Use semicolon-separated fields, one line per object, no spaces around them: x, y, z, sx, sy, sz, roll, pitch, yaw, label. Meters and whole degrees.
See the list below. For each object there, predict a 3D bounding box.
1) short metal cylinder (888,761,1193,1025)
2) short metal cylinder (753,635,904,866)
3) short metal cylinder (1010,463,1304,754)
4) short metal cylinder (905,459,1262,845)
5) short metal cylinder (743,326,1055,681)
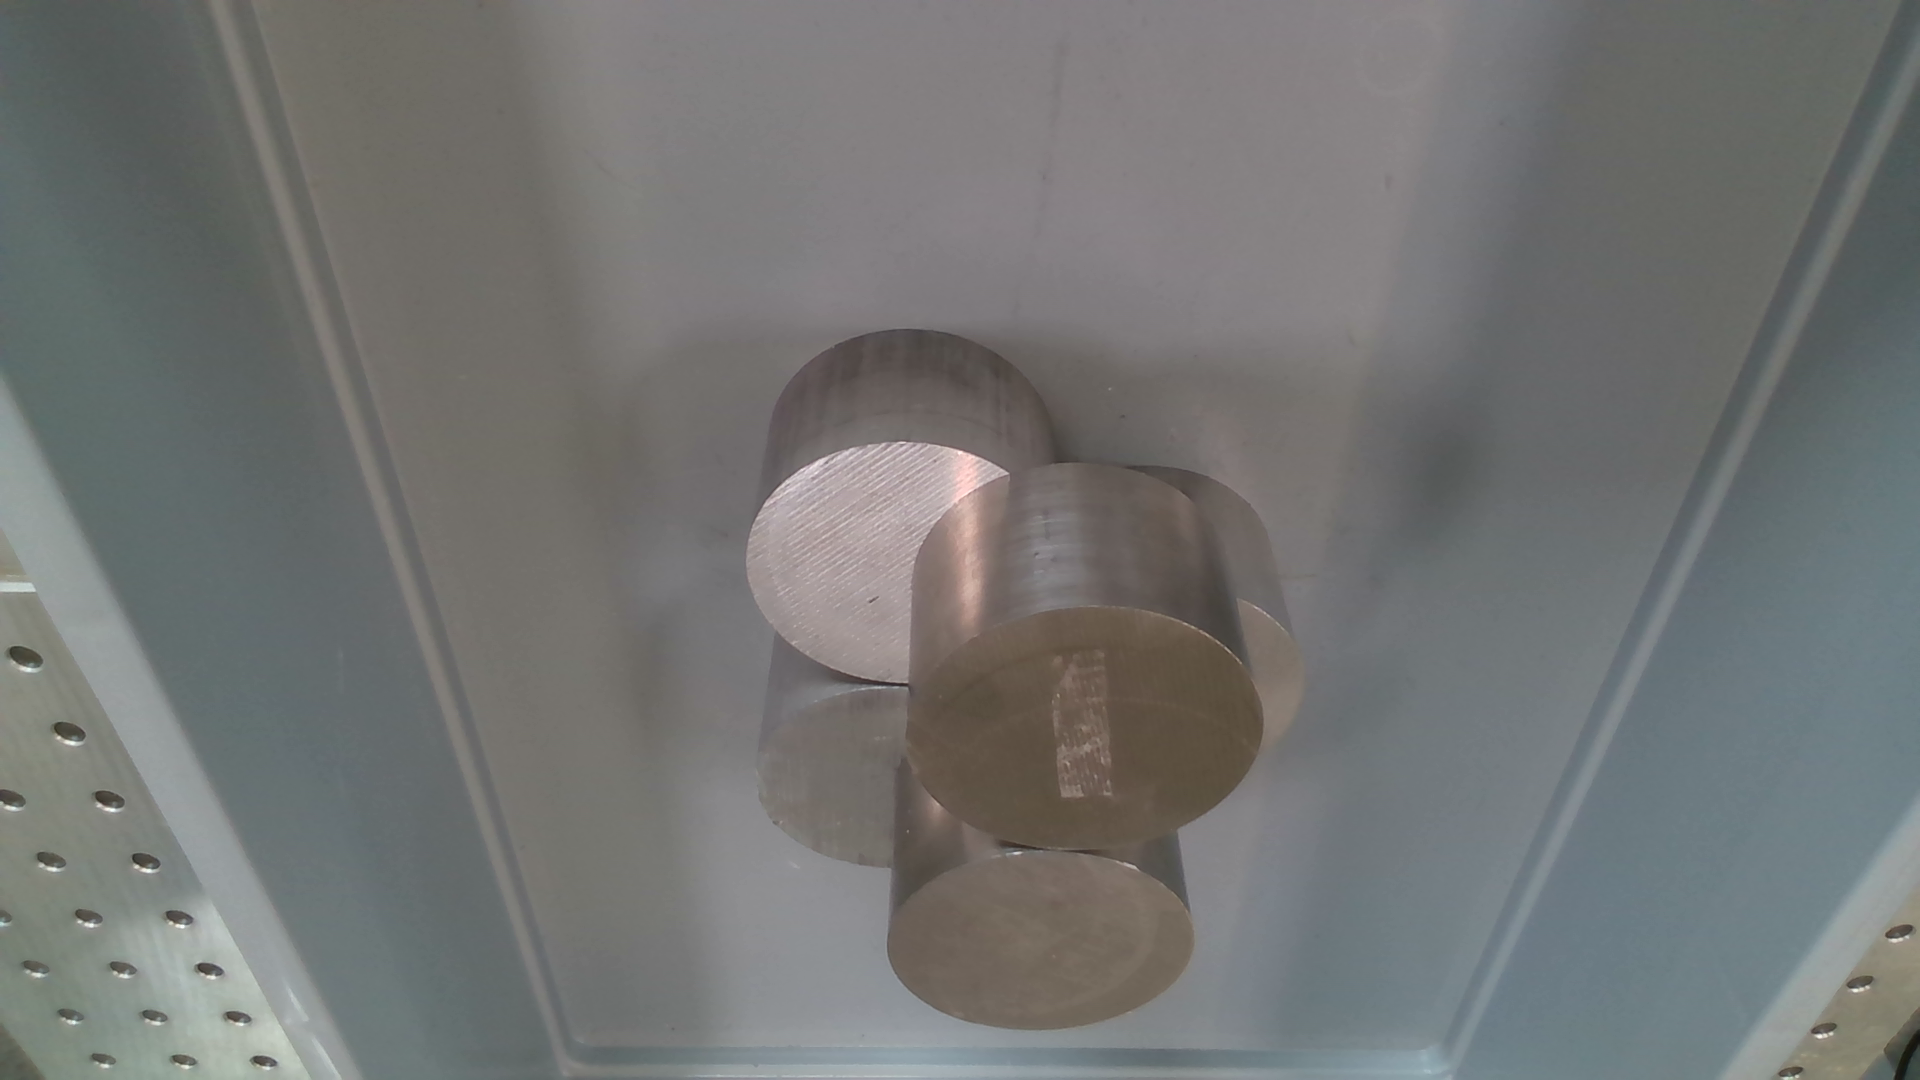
0.021;0.090;0.381;0.080;0.050;0.080;0;130;0;short metal cylinder
-0.020;0.054;0.416;0.080;0.050;0.080;0;130;0;short metal cylinder
0.053;0.025;0.393;0.080;0.050;0.080;0;130;0;short metal cylinder
0.028;0.028;0.329;0.080;0.050;0.080;0;130;0;short metal cylinder
-0.014;-0.009;0.363;0.080;0.050;0.080;0;130;0;short metal cylinder
